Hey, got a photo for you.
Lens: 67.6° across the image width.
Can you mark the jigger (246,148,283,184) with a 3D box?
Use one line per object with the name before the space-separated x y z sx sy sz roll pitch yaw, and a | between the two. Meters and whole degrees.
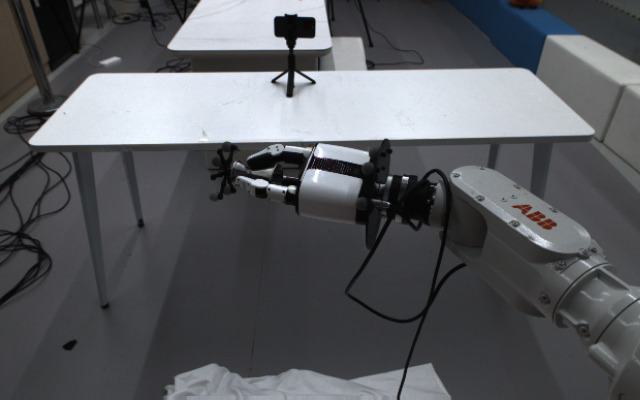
jigger | -0.089 -0.039 0.729 0.071 0.043 0.043 8 35 17
